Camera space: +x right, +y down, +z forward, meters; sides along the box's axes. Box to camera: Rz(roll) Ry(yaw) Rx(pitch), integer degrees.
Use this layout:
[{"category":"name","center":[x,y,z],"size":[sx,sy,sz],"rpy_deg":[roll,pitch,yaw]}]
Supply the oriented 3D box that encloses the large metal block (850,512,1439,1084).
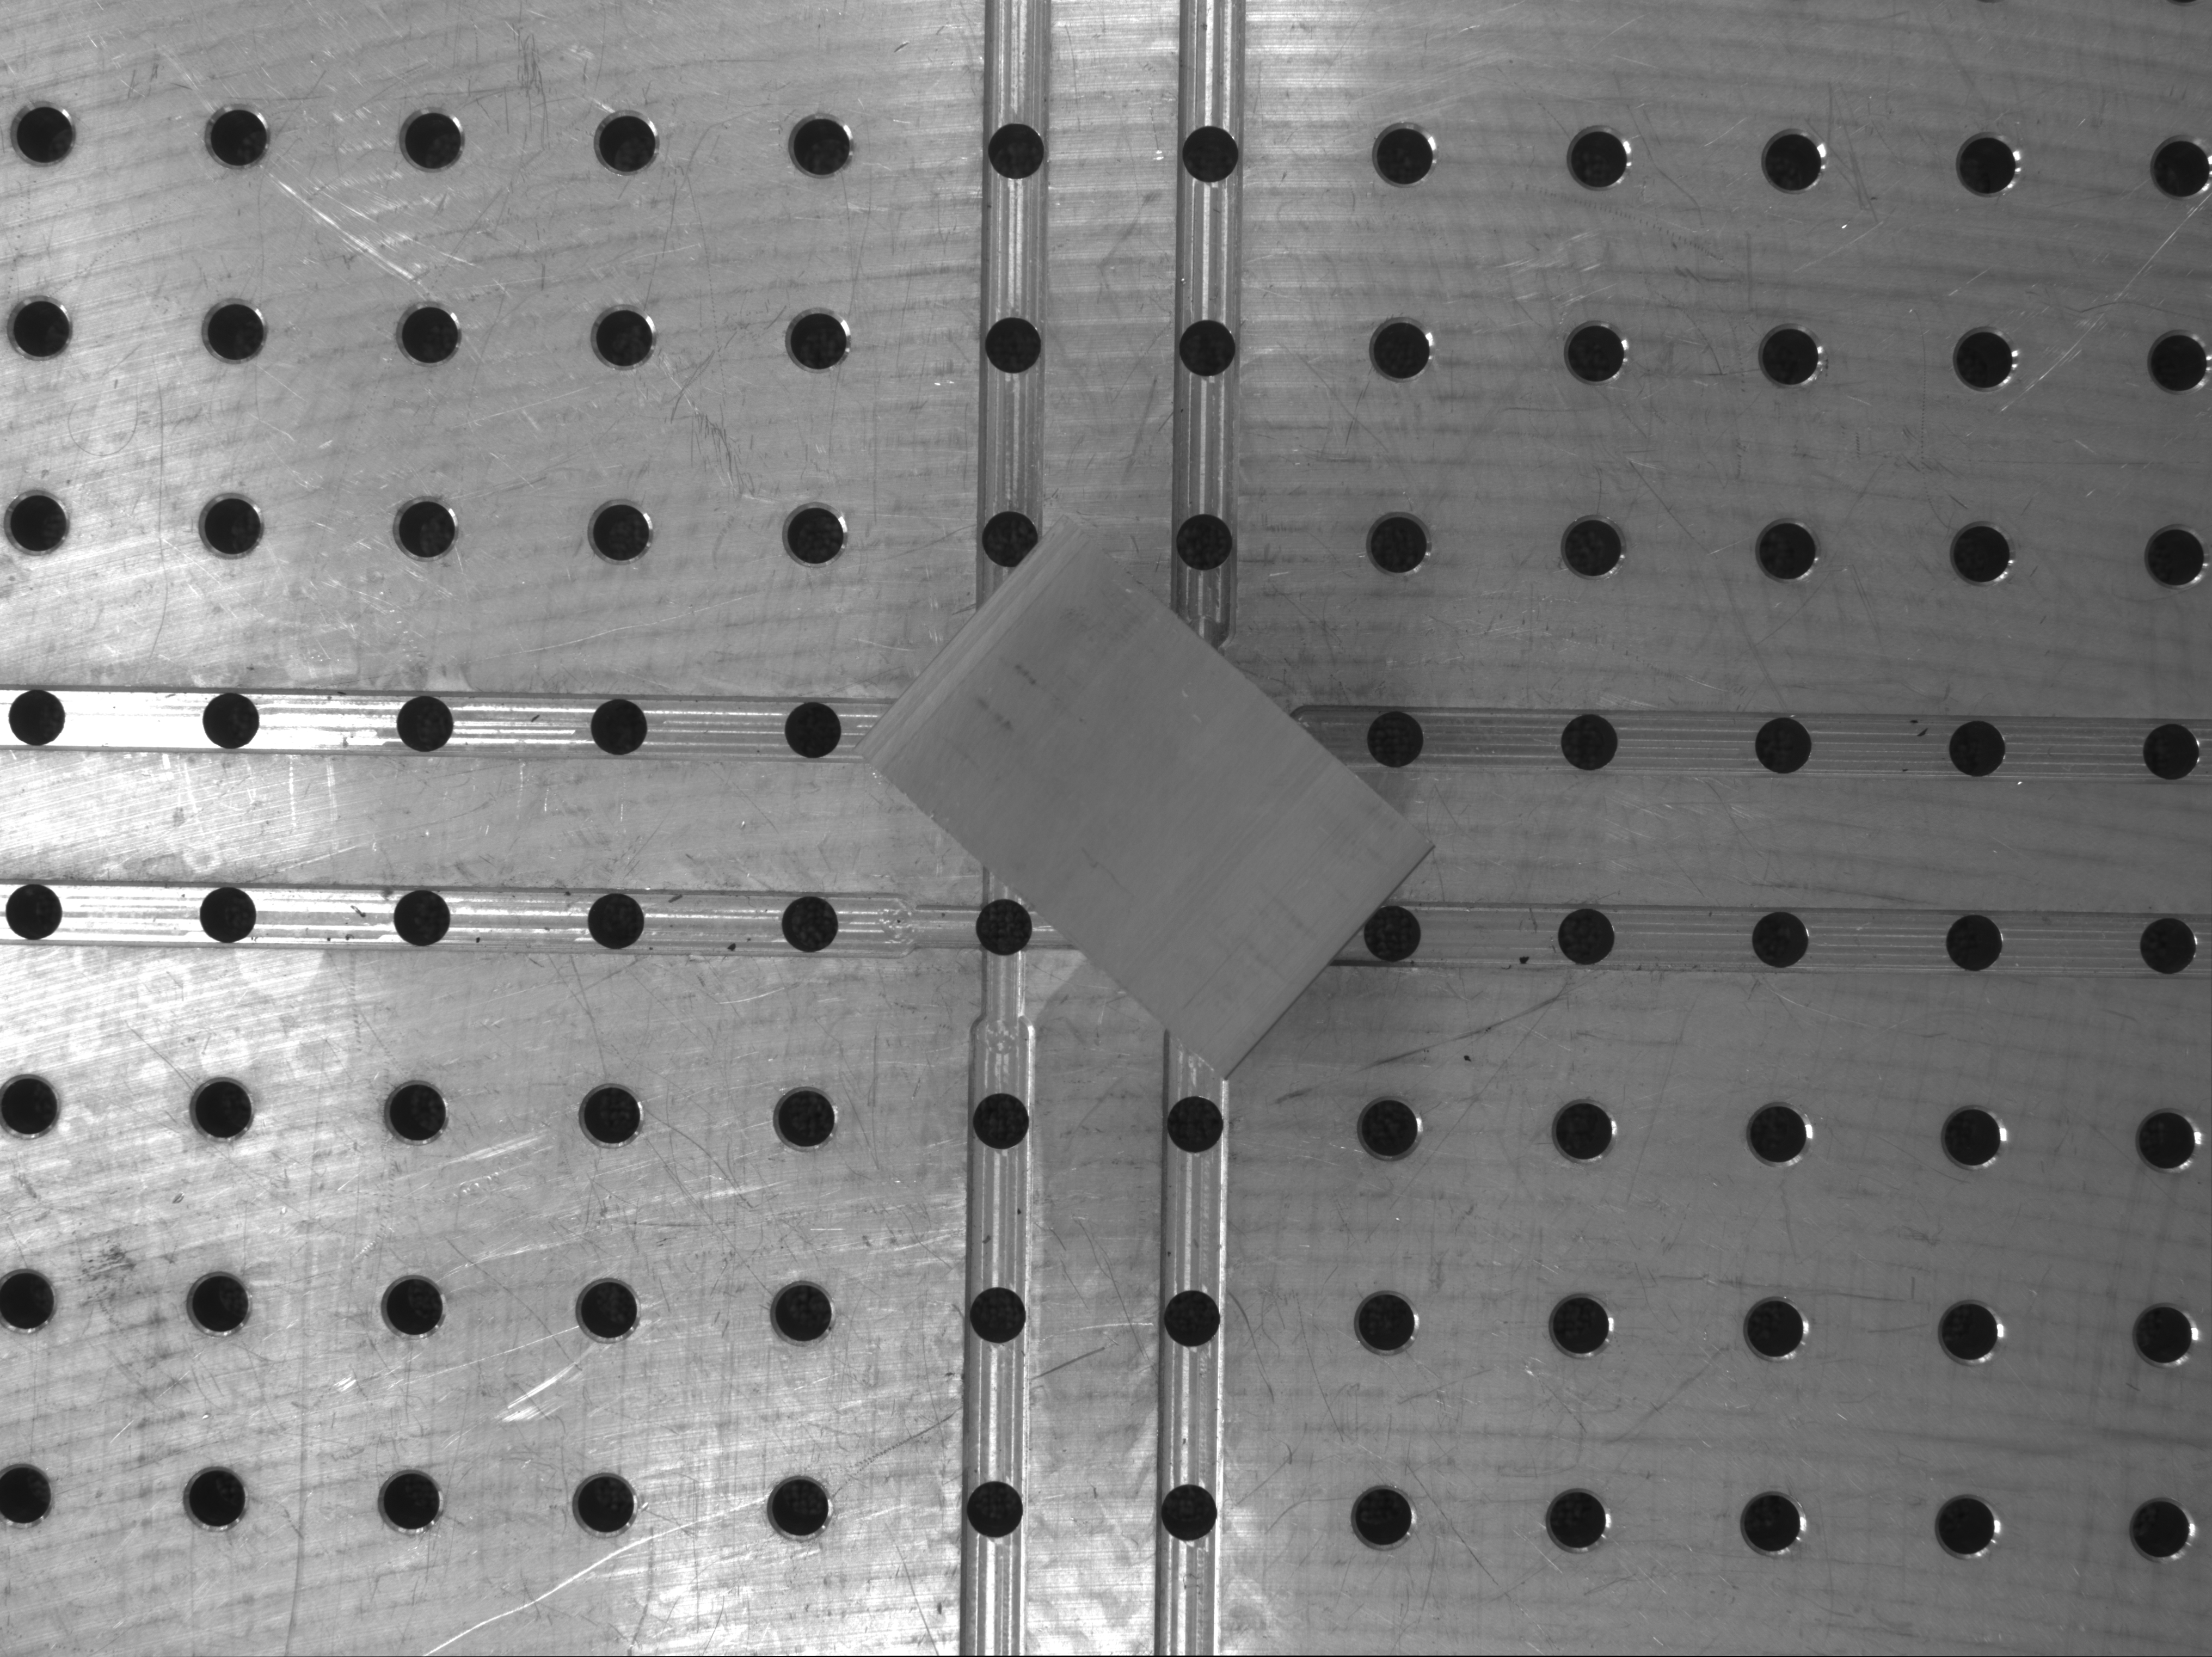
[{"category":"large metal block","center":[0.006,-0.005,0.620],"size":[0.080,0.080,0.050],"rpy_deg":[41,90,0]}]
